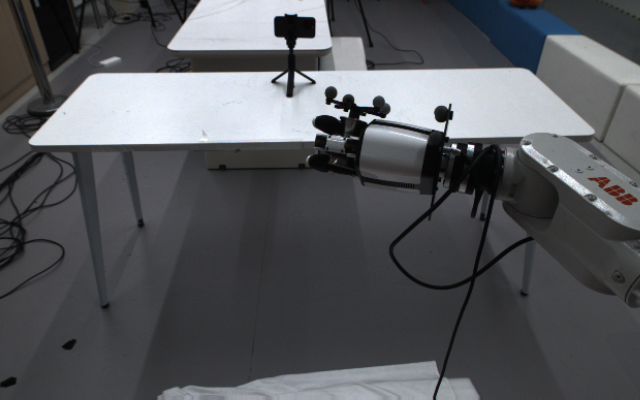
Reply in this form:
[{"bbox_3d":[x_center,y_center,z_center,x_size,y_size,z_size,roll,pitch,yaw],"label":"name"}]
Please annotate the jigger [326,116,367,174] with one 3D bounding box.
[{"bbox_3d":[0.042,-0.079,0.685,0.043,0.071,0.043,14,1,0],"label":"jigger"}]
